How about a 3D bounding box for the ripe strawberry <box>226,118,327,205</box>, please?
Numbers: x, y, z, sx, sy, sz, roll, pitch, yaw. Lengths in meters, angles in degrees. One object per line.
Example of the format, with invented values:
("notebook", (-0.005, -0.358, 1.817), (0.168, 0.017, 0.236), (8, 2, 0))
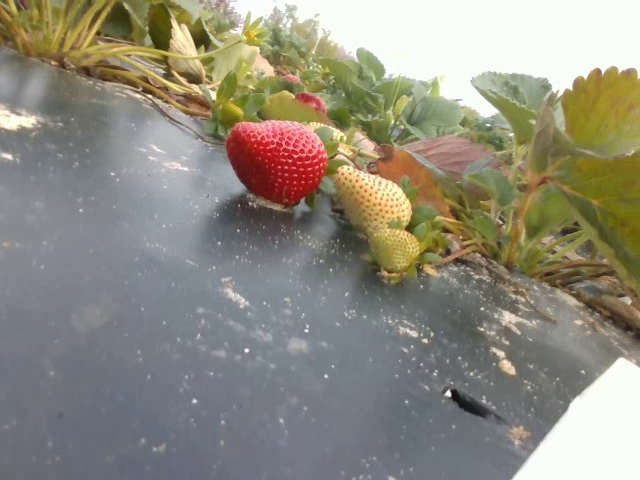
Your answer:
("ripe strawberry", (-0.020, -0.038, 0.258), (0.050, 0.034, 0.059), (29, 4, 19))
